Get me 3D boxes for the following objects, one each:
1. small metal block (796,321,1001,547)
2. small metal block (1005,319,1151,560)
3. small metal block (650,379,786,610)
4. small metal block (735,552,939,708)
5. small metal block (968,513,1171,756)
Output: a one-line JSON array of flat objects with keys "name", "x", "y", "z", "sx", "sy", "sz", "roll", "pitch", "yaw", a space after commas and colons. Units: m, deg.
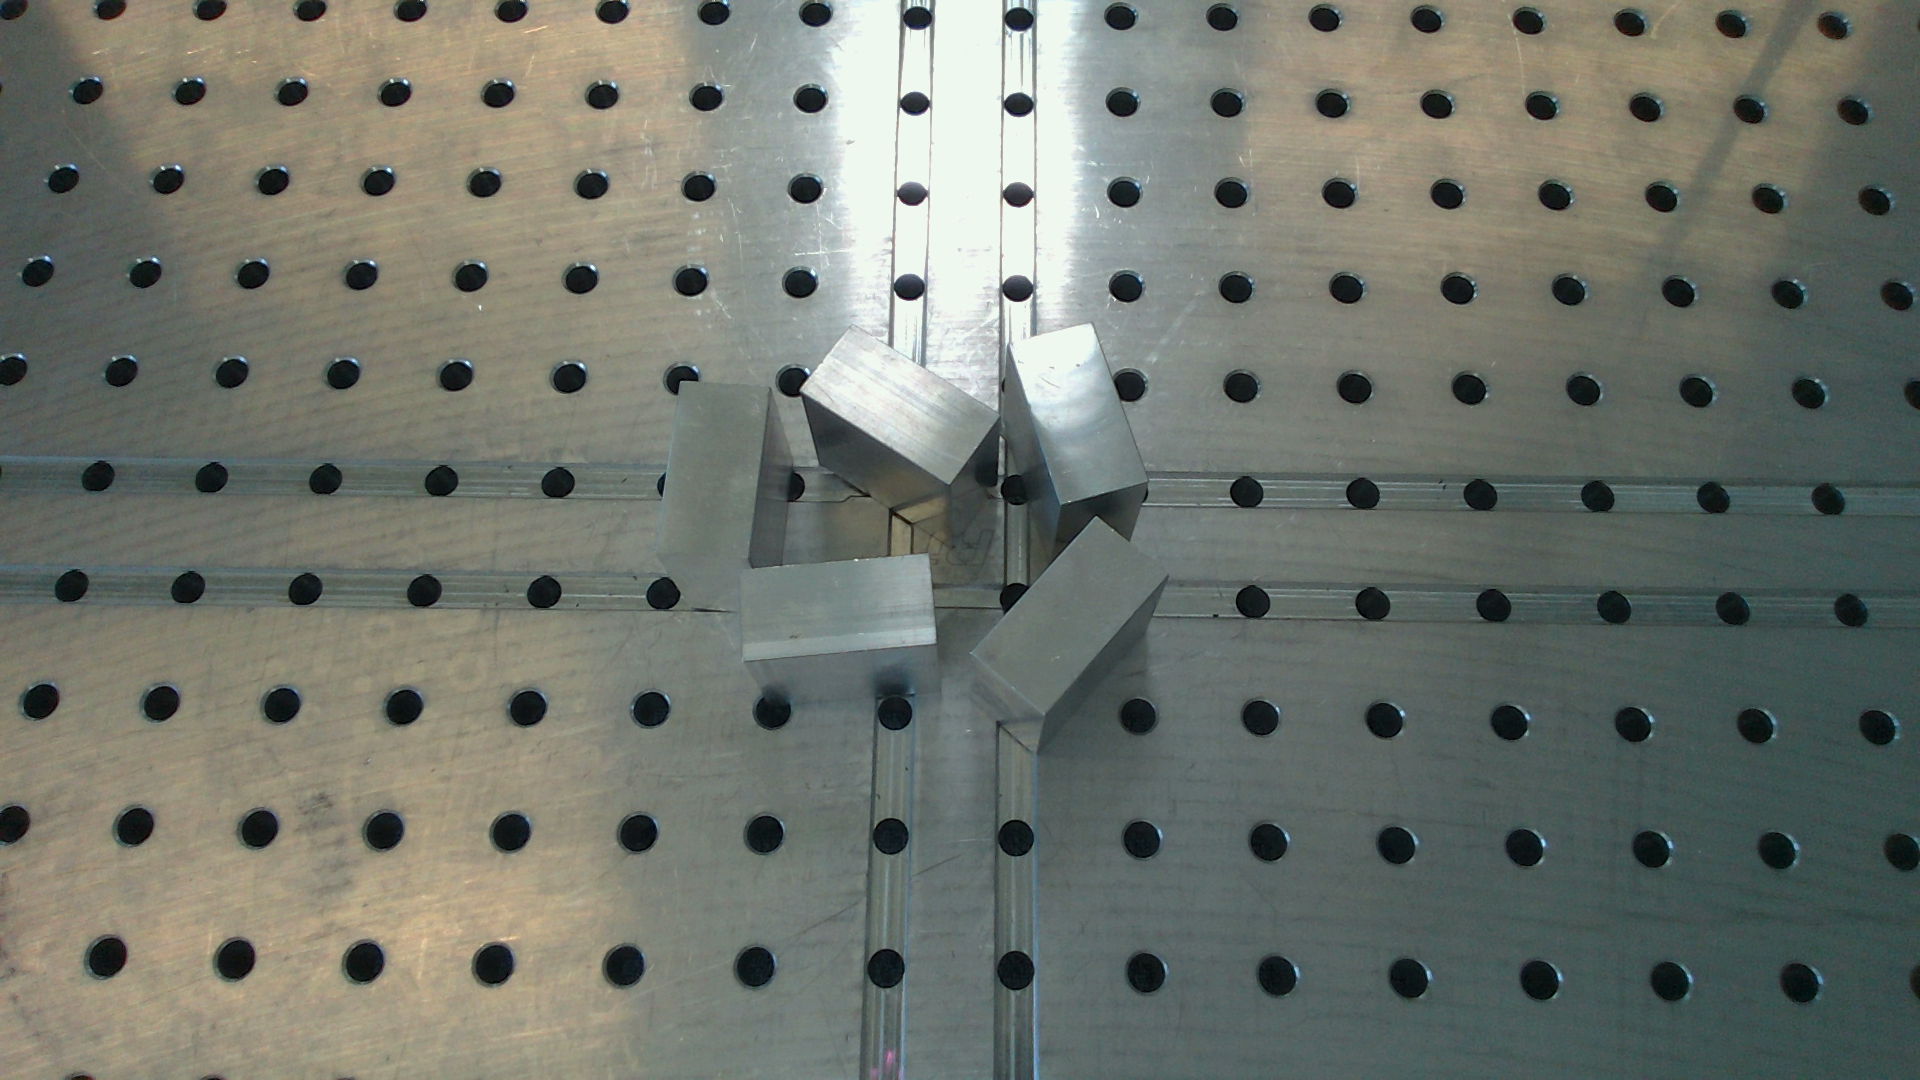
[{"name": "small metal block", "x": -0.016, "y": -0.029, "z": 0.394, "sx": 0.050, "sy": 0.050, "sz": 0.025, "roll": 32, "pitch": 74, "yaw": 11}, {"name": "small metal block", "x": 0.032, "y": -0.026, "z": 0.393, "sx": 0.025, "sy": 0.050, "sz": 0.050, "roll": -15, "pitch": 70, "yaw": -5}, {"name": "small metal block", "x": -0.066, "y": -0.011, "z": 0.388, "sx": 0.025, "sy": 0.050, "sz": 0.050, "roll": 3, "pitch": 70, "yaw": 2}, {"name": "small metal block", "x": -0.032, "y": 0.026, "z": 0.374, "sx": 0.050, "sy": 0.050, "sz": 0.025, "roll": -5, "pitch": 70, "yaw": -2}, {"name": "small metal block", "x": 0.029, "y": 0.027, "z": 0.373, "sx": 0.025, "sy": 0.050, "sz": 0.050, "roll": 40, "pitch": 75, "yaw": 14}]
